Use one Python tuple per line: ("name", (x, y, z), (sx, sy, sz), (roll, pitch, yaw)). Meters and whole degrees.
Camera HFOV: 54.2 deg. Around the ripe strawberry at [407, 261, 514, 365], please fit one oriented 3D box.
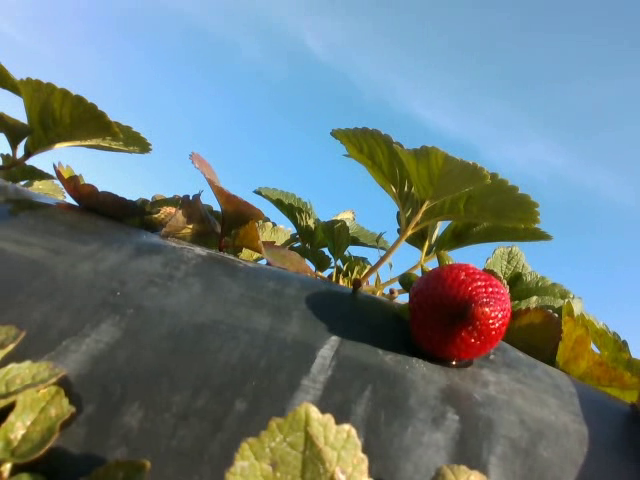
("ripe strawberry", (0.048, 0.023, 0.201), (0.040, 0.036, 0.044), (20, 1, -10))
